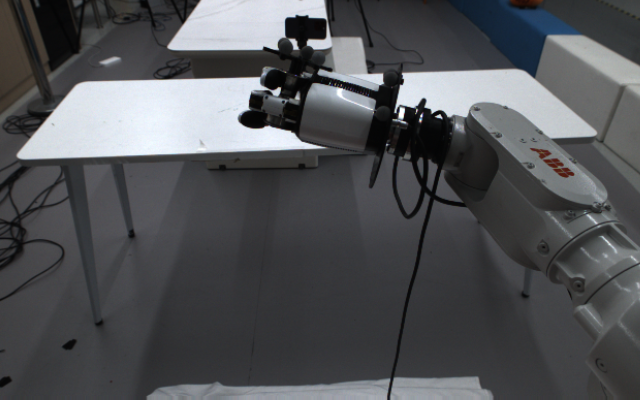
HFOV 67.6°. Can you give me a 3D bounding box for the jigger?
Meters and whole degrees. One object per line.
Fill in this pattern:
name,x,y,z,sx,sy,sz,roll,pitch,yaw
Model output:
jigger,-0.045,-0.128,0.615,0.043,0.071,0.043,18,17,-6
